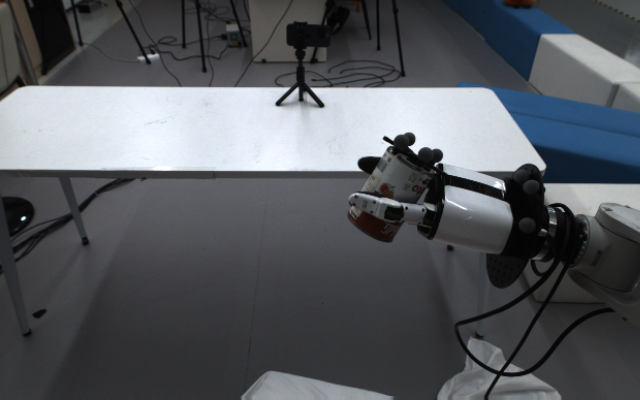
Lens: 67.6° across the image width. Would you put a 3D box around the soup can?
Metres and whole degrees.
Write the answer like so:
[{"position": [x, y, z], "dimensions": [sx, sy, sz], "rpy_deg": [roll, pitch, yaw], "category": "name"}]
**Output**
[{"position": [0.089, -0.007, 0.601], "dimensions": [0.067, 0.101, 0.067], "rpy_deg": [27, 18, -9], "category": "soup can"}]
